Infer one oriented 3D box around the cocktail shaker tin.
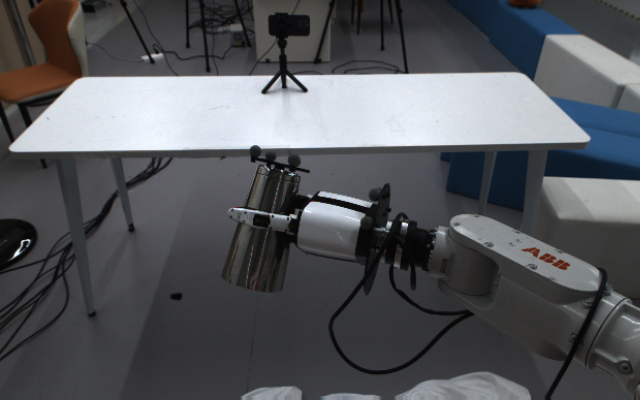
[{"bbox_3d":[-0.081,0.039,0.709,0.093,0.170,0.093,14,2,0],"label":"cocktail shaker tin"}]
